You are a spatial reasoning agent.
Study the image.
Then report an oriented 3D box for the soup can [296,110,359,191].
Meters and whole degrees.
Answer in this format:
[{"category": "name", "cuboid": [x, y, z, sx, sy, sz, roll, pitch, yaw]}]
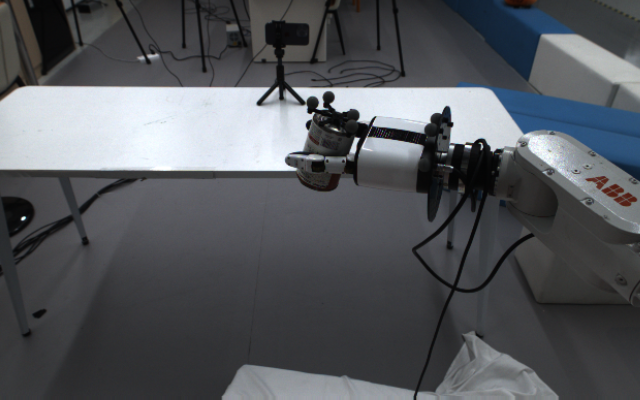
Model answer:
[{"category": "soup can", "cuboid": [0.009, -0.071, 0.713, 0.067, 0.101, 0.067, 13, 35, -9]}]
